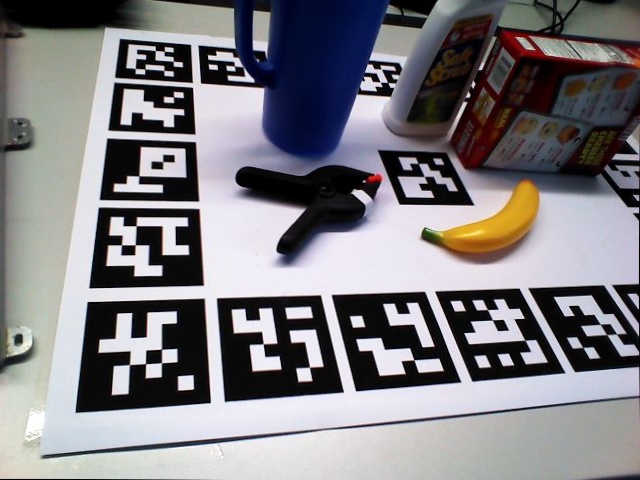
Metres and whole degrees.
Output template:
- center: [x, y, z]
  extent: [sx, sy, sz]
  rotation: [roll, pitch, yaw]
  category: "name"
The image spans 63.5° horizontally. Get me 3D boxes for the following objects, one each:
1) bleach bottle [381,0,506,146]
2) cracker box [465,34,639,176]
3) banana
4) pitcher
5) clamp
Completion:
- center: [0.159, -0.240, 0.657]
  extent: [0.102, 0.252, 0.067]
  rotation: [-1, 47, -15]
  category: "bleach bottle"
- center: [0.317, -0.169, 0.668]
  extent: [0.213, 0.165, 0.071]
  rotation: [-1, 45, -12]
  category: "cracker box"
- center: [0.218, -0.020, 0.621]
  extent: [0.074, 0.039, 0.196]
  rotation: [40, 51, 24]
  category: "banana"
- center: [-0.011, -0.221, 0.570]
  extent: [0.188, 0.244, 0.133]
  rotation: [-15, 52, -29]
  category: "pitcher"
- center: [0.002, -0.040, 0.576]
  extent: [0.164, 0.037, 0.122]
  rotation: [-13, 50, -27]
  category: "clamp"
